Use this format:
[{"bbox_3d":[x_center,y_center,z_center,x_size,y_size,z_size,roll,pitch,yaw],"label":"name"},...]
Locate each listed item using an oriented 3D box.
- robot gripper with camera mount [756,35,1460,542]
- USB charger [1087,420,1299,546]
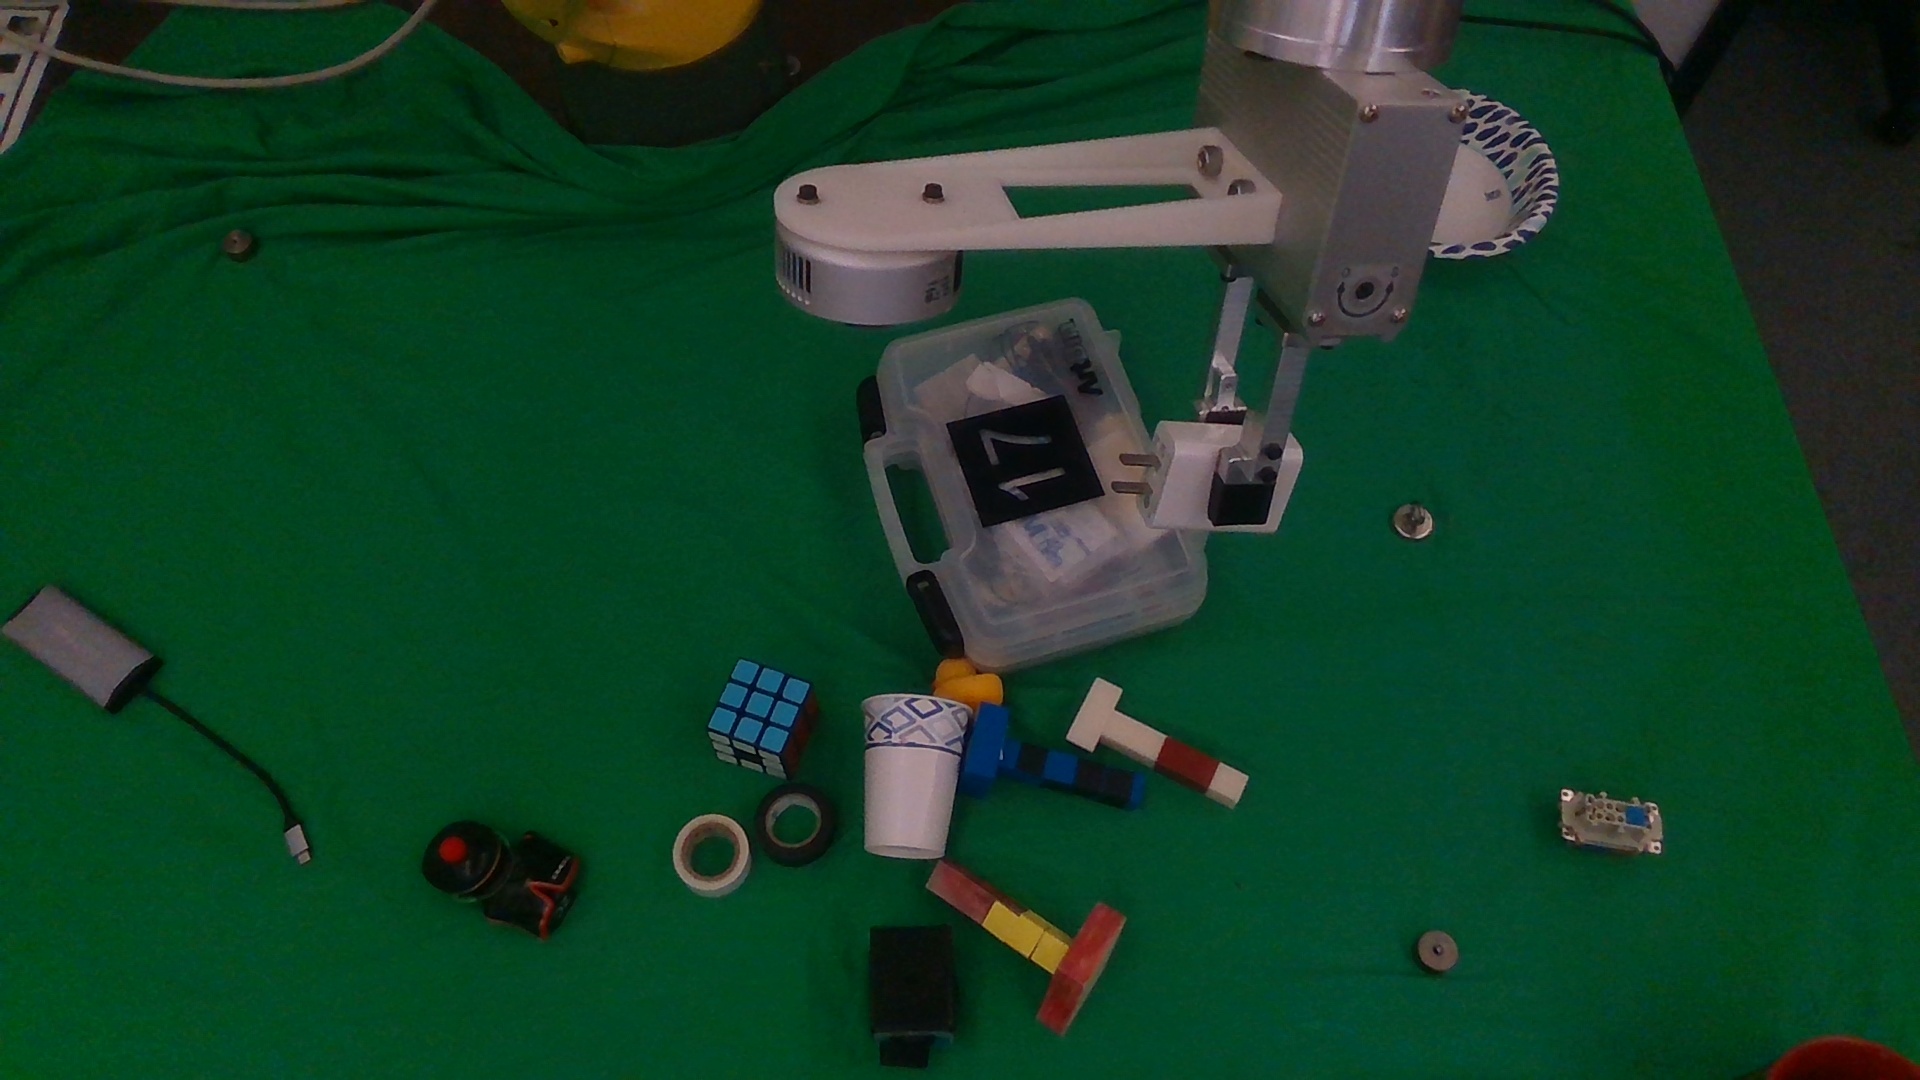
[{"bbox_3d":[0.030,-0.073,0.462,0.193,0.158,0.119,-2,34,-10],"label":"robot gripper with camera mount"},{"bbox_3d":[0.083,-0.021,0.509,0.075,0.044,0.029,3,27,-22],"label":"USB charger"}]
